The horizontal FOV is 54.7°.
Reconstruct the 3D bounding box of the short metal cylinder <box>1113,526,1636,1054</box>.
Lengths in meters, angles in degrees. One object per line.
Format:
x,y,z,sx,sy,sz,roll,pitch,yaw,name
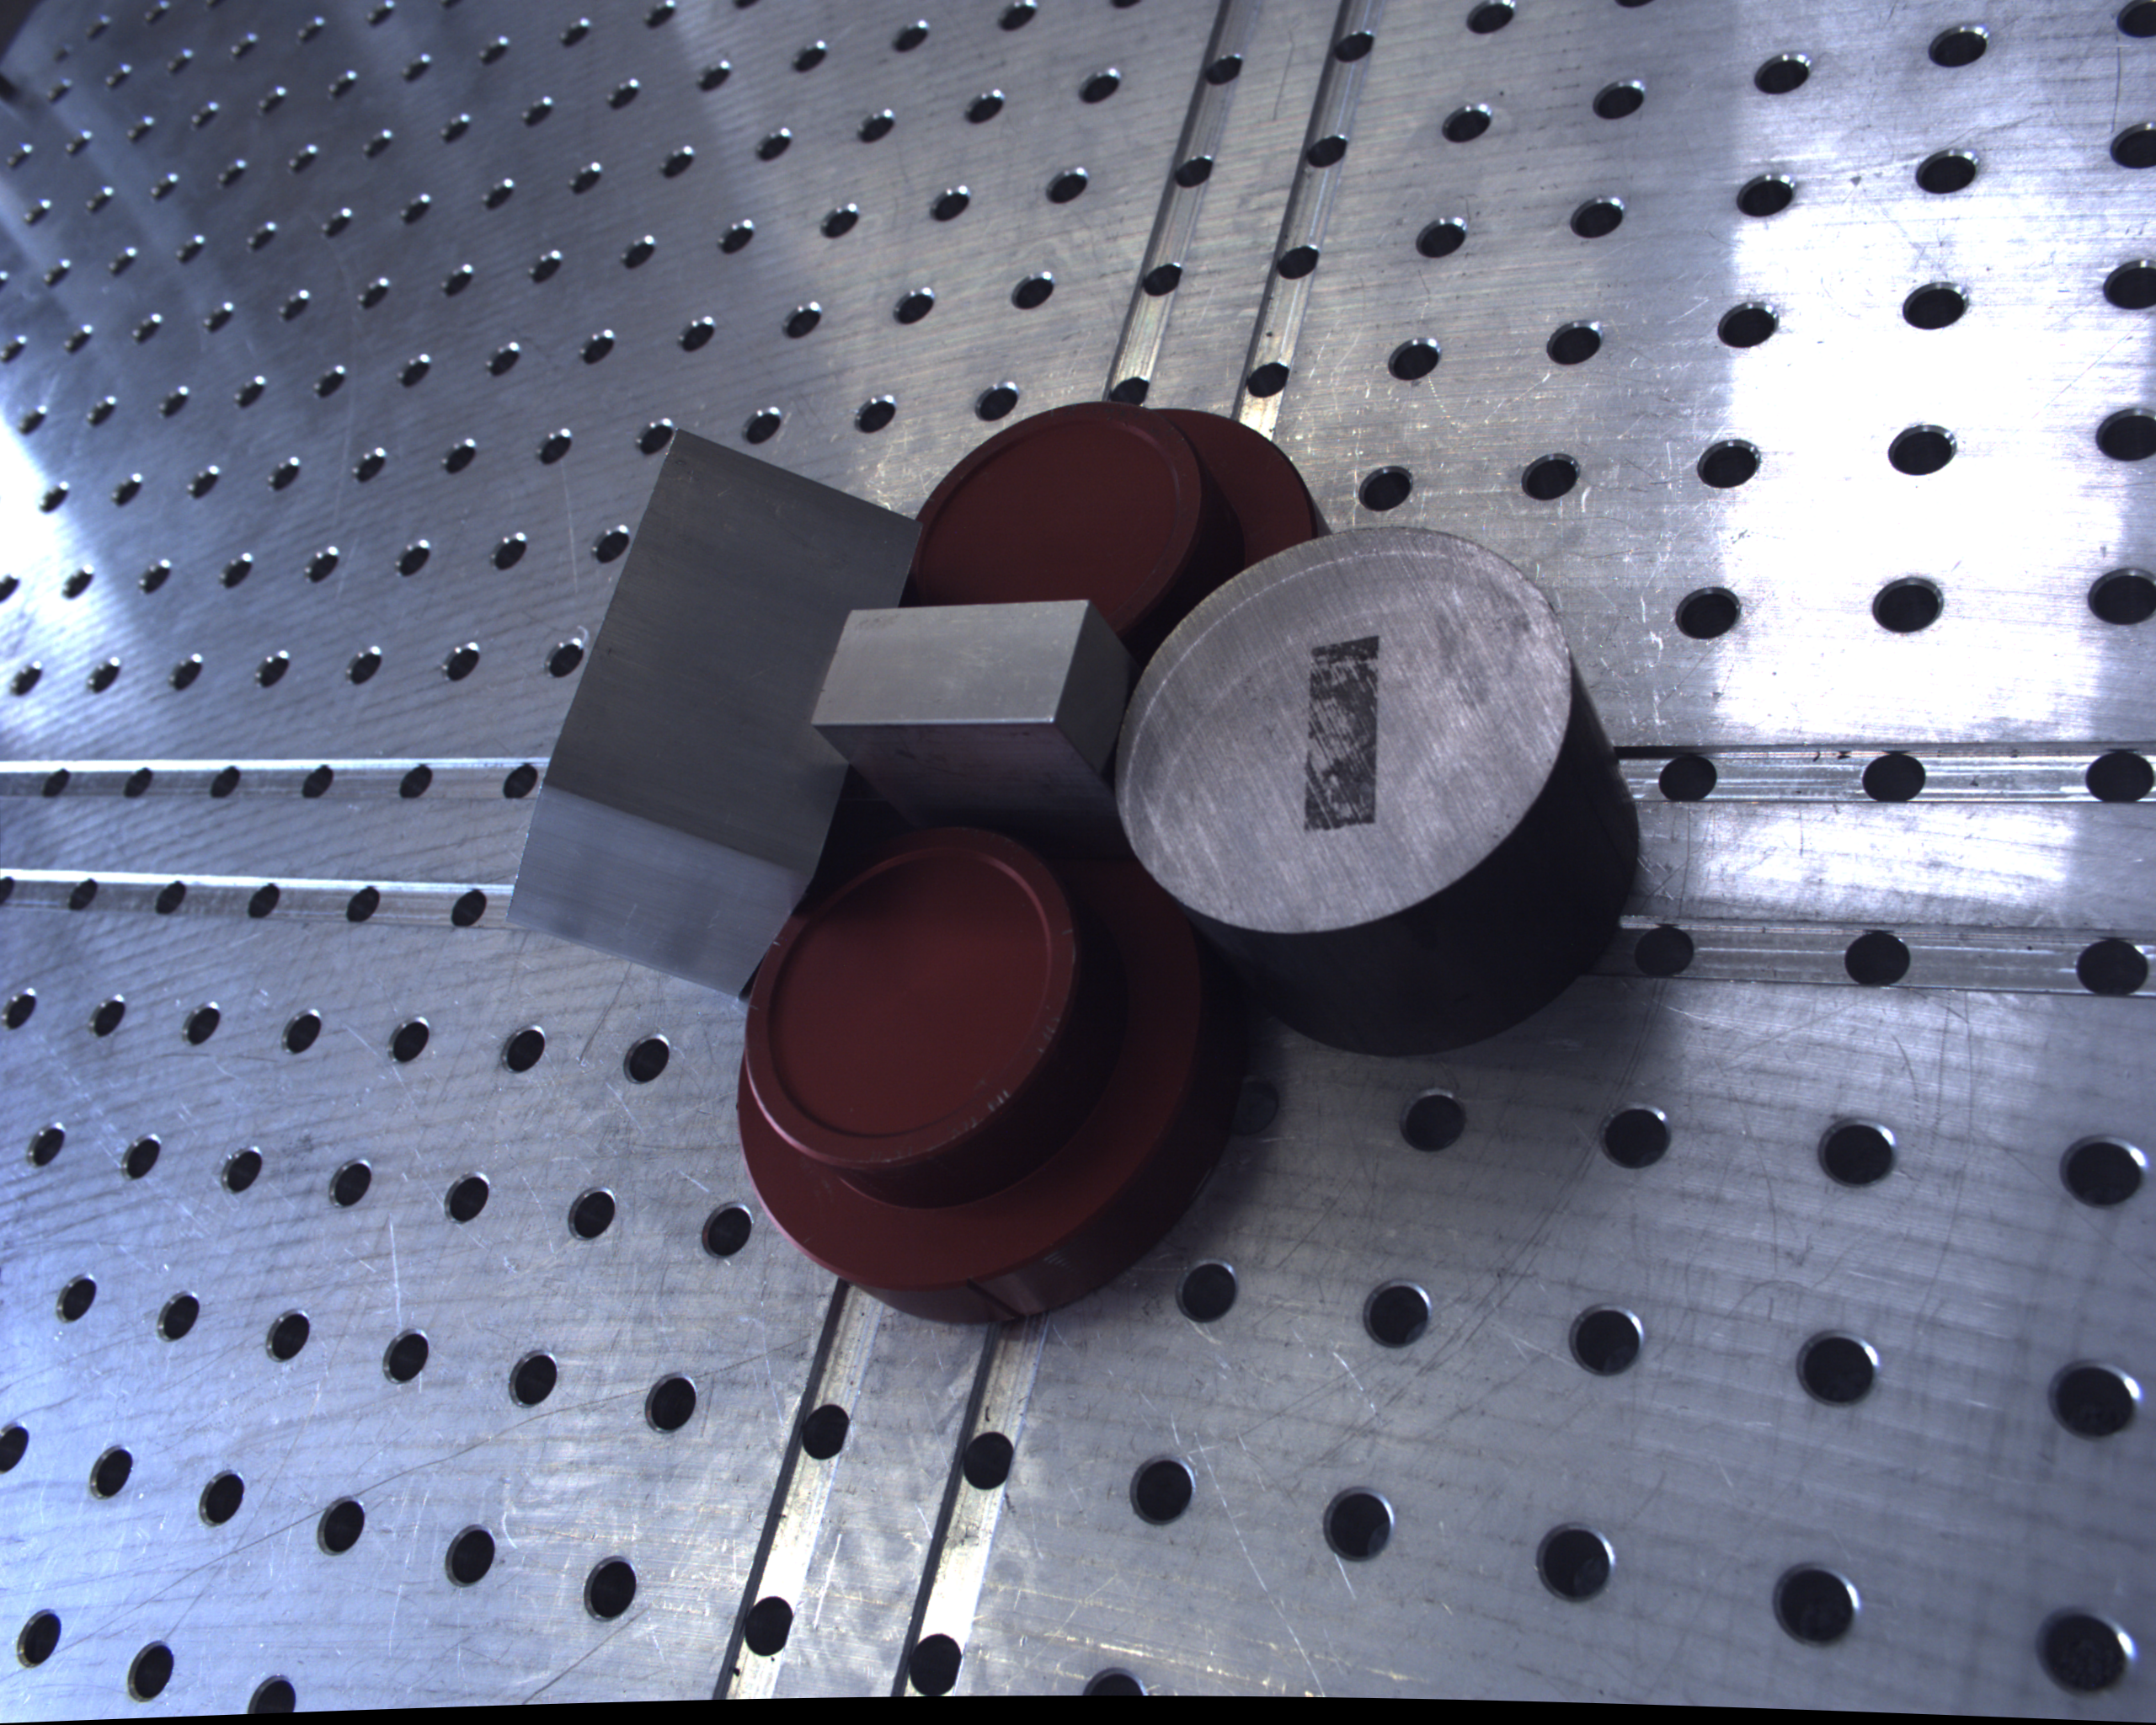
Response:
0.053,-0.012,0.371,0.080,0.050,0.080,-13,56,21,short metal cylinder

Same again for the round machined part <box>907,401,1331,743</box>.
0.003,-0.056,0.430,0.098,0.042,0.098,-13,56,21,round machined part

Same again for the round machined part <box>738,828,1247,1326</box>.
-0.022,0.033,0.389,0.098,0.042,0.098,-13,56,21,round machined part

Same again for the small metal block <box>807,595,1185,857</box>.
-0.013,-0.024,0.385,0.050,0.050,0.025,1,63,29,small metal block

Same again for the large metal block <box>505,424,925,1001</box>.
-0.075,-0.027,0.422,0.050,0.080,0.080,20,65,-12,large metal block
